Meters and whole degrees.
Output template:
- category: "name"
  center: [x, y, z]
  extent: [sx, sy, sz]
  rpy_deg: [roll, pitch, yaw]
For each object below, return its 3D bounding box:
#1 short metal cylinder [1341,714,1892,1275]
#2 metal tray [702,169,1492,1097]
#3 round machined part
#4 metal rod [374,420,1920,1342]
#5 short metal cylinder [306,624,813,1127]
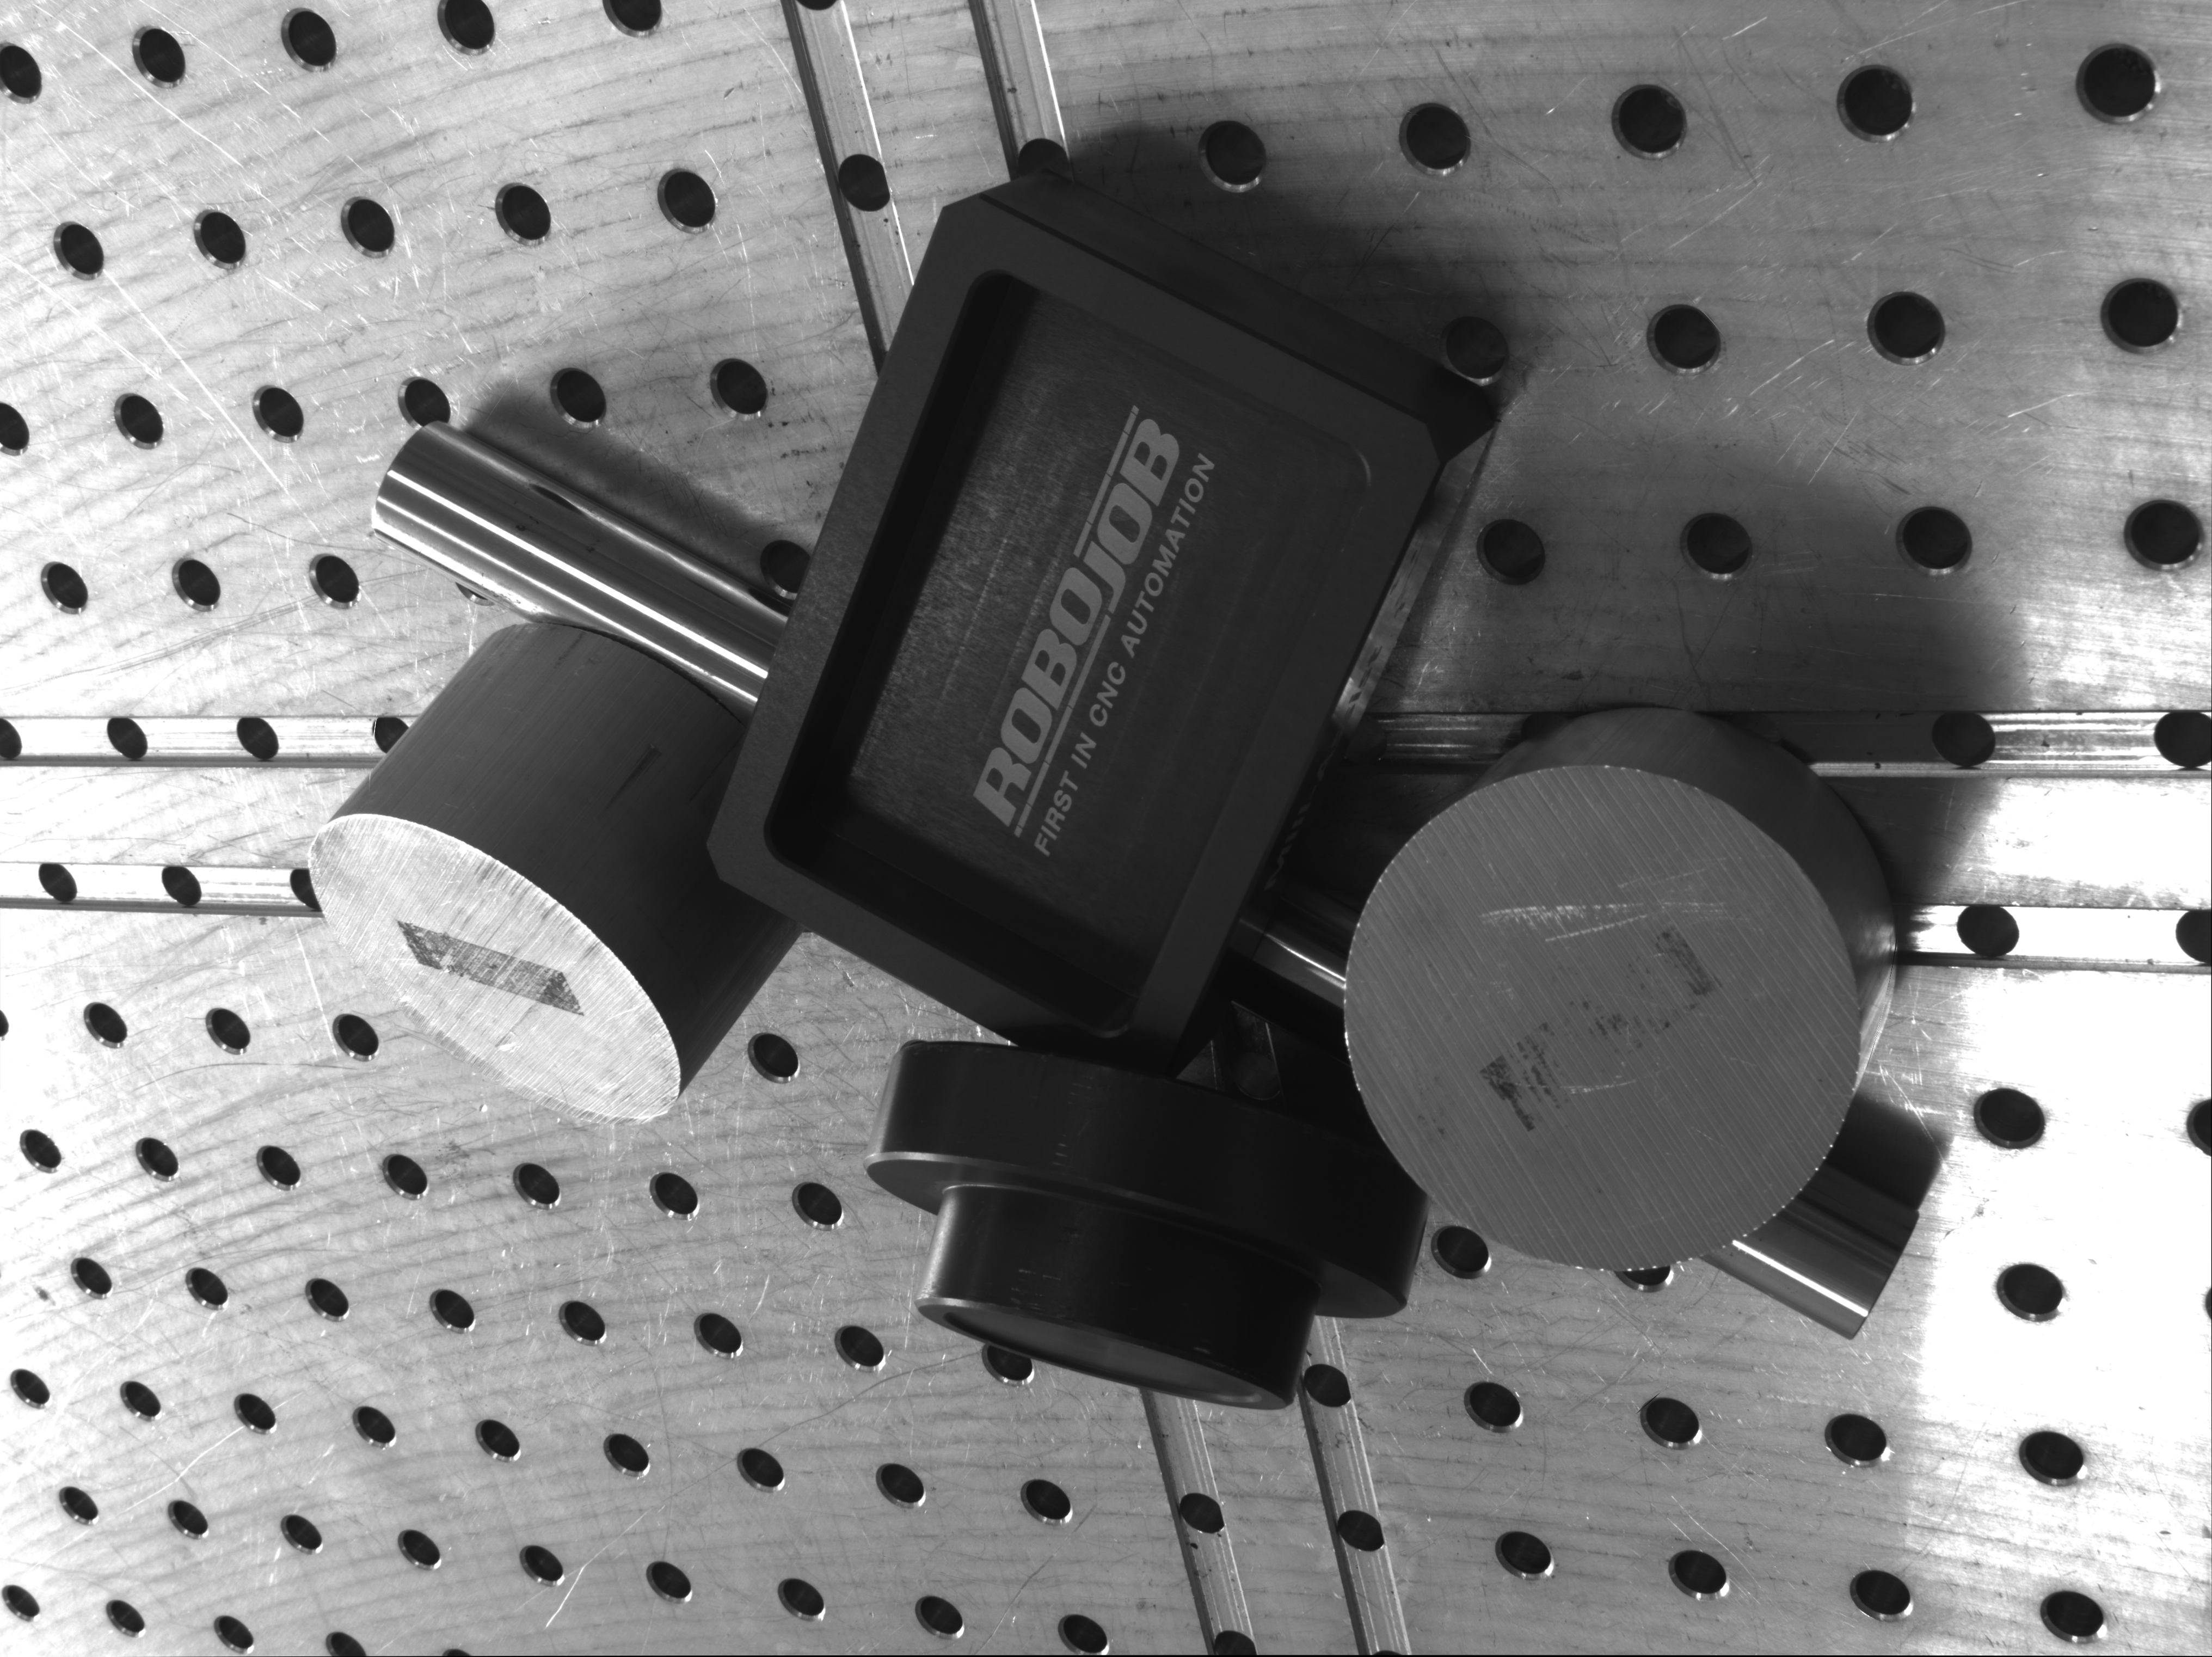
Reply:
- category: "short metal cylinder"
  center: [0.082, 0.025, 0.585]
  extent: [0.080, 0.050, 0.080]
  rpy_deg: [4, 102, 17]
- category: "metal tray"
  center: [-0.004, -0.031, 0.607]
  extent: [0.090, 0.030, 0.130]
  rpy_deg: [28, 115, 11]
- category: "round machined part"
  center: [0.004, 0.073, 0.642]
  extent: [0.098, 0.042, 0.098]
  rpy_deg: [14, 166, 4]
- category: "metal rod"
  center: [0.002, 0.006, 0.648]
  extent: [0.300, 0.025, 0.025]
  rpy_deg: [28, 128, 11]
- category: "short metal cylinder"
  center: [-0.098, 0.009, 0.672]
  extent: [0.080, 0.050, 0.080]
  rpy_deg: [23, 146, 17]
